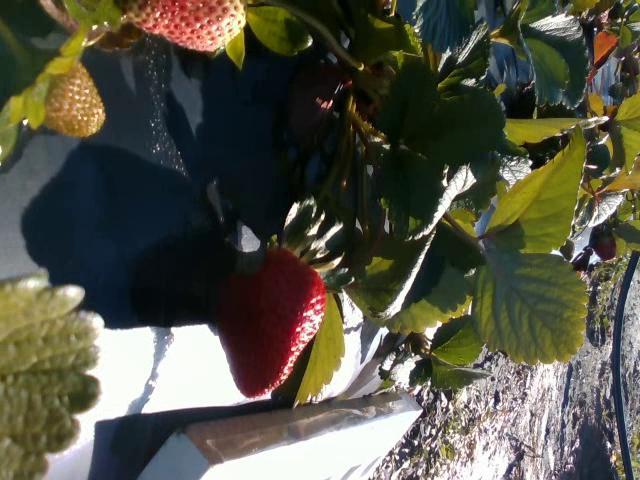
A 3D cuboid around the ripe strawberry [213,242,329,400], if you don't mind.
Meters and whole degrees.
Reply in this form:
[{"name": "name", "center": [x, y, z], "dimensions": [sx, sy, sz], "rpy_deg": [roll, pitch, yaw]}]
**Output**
[{"name": "ripe strawberry", "center": [-0.021, 0.030, 0.217], "dimensions": [0.058, 0.062, 0.066], "rpy_deg": [-5, -38, -14]}]
